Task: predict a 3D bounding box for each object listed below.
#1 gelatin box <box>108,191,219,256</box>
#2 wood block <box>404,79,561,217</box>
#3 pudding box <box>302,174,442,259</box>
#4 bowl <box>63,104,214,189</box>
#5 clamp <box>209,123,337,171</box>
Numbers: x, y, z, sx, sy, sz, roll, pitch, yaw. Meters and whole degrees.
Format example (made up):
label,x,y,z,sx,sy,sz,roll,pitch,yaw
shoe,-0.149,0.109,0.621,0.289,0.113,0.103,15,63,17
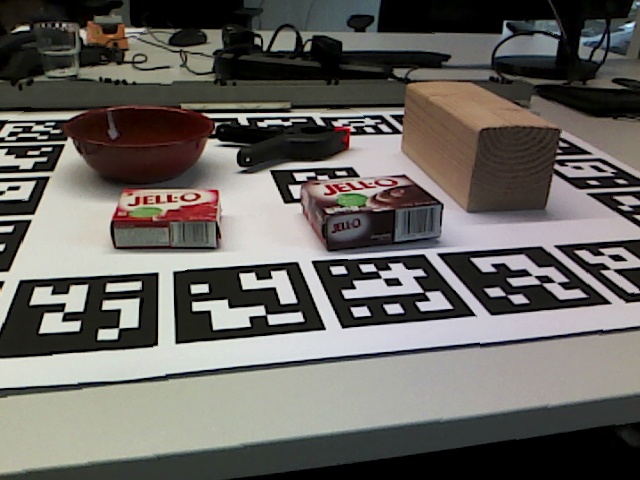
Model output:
label,x,y,z,sx,sy,sz,roll,pitch,yaw
gelatin box,-0.139,-0.017,0.560,0.089,0.030,0.073,0,31,-6
wood block,0.175,-0.113,0.709,0.089,0.091,0.207,-2,29,-11
pudding box,0.045,-0.024,0.588,0.113,0.038,0.090,-6,34,-12
bowl,-0.201,-0.102,0.699,0.161,0.055,0.162,4,31,-3
clamp,-0.054,-0.123,0.774,0.164,0.036,0.122,-8,30,-23
